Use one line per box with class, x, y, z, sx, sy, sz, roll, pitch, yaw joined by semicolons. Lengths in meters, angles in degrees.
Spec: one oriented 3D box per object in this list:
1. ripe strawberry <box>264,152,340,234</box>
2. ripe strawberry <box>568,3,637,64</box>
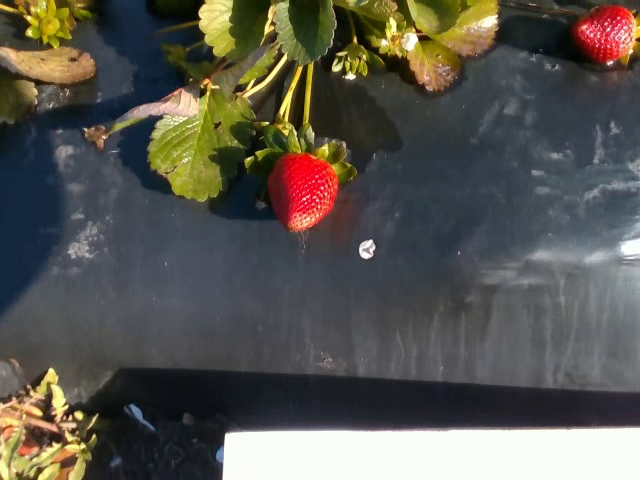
ripe strawberry;-0.009;-0.022;0.324;0.045;0.042;0.055;9;43;-3
ripe strawberry;0.155;-0.114;0.347;0.046;0.035;0.036;2;-17;-9
